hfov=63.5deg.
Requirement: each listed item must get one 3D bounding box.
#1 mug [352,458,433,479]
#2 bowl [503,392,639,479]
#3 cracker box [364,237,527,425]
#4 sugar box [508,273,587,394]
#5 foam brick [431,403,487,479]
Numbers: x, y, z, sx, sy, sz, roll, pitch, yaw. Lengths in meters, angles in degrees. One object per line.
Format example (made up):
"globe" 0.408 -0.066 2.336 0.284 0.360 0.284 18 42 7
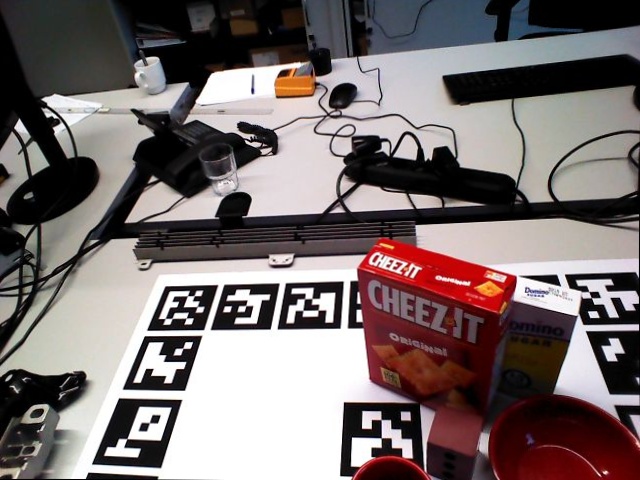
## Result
"mug" 0.066 0.289 0.528 0.117 0.081 0.093 -10 32 5
"bowl" 0.275 0.243 0.540 0.162 0.055 0.161 -7 41 6
"cracker box" 0.142 0.113 0.620 0.165 0.214 0.071 20 47 31
"sugar box" 0.255 0.111 0.621 0.093 0.177 0.045 12 45 26
"foam brick" 0.158 0.232 0.588 0.053 0.078 0.051 7 43 23
